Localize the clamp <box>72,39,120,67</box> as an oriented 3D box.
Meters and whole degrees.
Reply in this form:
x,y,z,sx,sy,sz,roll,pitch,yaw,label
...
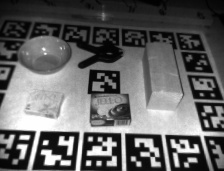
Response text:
x,y,z,sx,sy,sz,roll,pitch,yaw,label
-0.053,-0.117,0.755,0.166,0.036,0.121,-4,55,-12,clamp

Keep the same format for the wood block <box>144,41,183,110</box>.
x,y,z,sx,sy,sz,roll,pitch,yaw,label
0.155,-0.037,0.680,0.090,0.091,0.205,6,54,-3,wood block

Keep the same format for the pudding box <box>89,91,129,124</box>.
x,y,z,sx,sy,sz,roll,pitch,yaw,label
-0.008,0.063,0.621,0.114,0.039,0.089,2,58,-3,pudding box

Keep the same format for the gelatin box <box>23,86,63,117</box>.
x,y,z,sx,sy,sz,roll,pitch,yaw,label
-0.193,0.044,0.616,0.089,0.030,0.073,10,56,0,gelatin box

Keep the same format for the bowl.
x,y,z,sx,sy,sz,roll,pitch,yaw,label
-0.214,-0.099,0.709,0.162,0.055,0.161,4,57,-5,bowl
